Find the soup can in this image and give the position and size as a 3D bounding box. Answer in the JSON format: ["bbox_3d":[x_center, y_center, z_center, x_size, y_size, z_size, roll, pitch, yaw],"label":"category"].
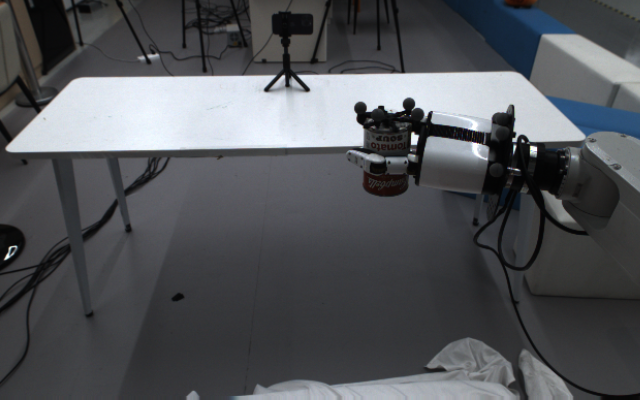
[{"bbox_3d":[0.096,-0.065,0.691,0.067,0.101,0.067,-2,32,1],"label":"soup can"}]
